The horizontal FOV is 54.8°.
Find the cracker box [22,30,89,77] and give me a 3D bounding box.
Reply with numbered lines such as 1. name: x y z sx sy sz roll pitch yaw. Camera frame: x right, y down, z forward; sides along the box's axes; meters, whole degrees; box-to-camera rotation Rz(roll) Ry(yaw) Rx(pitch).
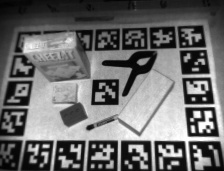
1. cracker box: -0.180 -0.103 0.741 0.164 0.215 0.072 -4 70 4

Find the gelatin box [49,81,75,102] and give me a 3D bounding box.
1. gelatin box: -0.185 0.024 0.805 0.089 0.030 0.073 -1 73 6

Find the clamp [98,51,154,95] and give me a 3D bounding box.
1. clamp: 0.070 -0.079 0.806 0.203 0.037 0.164 -30 72 -4

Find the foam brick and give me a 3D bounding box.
1. foam brick: -0.149 0.097 0.763 0.078 0.051 0.052 -24 72 -1

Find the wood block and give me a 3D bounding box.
1. wood block: 0.100 0.056 0.734 0.089 0.091 0.207 34 76 18

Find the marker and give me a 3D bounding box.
1. marker: -0.059 0.130 0.759 0.121 0.020 0.019 -20 72 0
